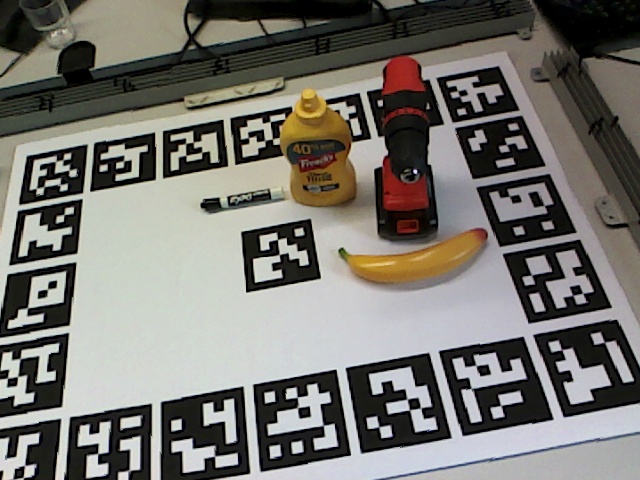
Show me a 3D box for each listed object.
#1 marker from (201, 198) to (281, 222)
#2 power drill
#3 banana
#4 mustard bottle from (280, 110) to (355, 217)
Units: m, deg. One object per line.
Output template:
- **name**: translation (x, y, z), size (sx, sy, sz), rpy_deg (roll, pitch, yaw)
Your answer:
- **marker**: translation (-0.119, -0.045, 0.930), size (0.121, 0.019, 0.020), rpy_deg (-9, 58, 3)
- **power drill**: translation (0.106, -0.081, 0.796), size (0.057, 0.186, 0.185), rpy_deg (2, 56, 7)
- **banana**: translation (0.120, 0.044, 0.828), size (0.198, 0.038, 0.074), rpy_deg (-5, 59, 8)
- **mustard bottle**: translation (-0.004, -0.106, 0.849), size (0.096, 0.191, 0.058), rpy_deg (-1, 58, 7)
